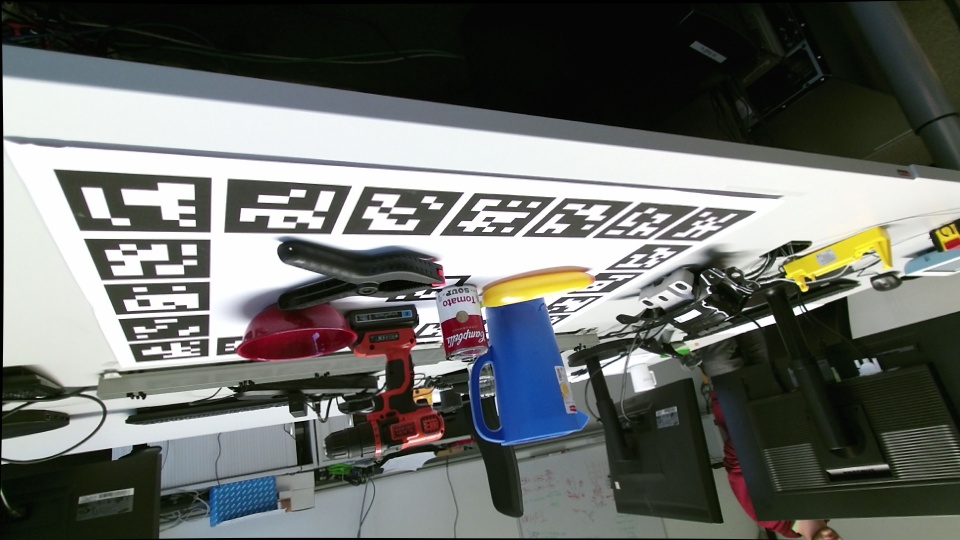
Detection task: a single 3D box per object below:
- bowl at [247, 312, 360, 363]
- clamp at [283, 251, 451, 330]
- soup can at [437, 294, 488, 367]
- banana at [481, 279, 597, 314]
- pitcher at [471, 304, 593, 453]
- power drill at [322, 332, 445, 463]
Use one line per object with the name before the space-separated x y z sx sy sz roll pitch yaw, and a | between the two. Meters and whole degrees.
bowl | -0.248 0.098 0.757 0.162 0.055 0.162 -13 157 -6
clamp | -0.130 0.024 0.660 0.203 0.036 0.165 -3 151 -26
soup can | -0.025 0.094 0.824 0.068 0.101 0.068 -10 165 -2
banana | 0.098 0.040 0.855 0.198 0.038 0.074 -11 166 -4
pitcher | 0.072 0.182 0.904 0.189 0.241 0.133 -12 161 -6
power drill | -0.156 0.196 0.823 0.185 0.186 0.057 -4 155 -23
